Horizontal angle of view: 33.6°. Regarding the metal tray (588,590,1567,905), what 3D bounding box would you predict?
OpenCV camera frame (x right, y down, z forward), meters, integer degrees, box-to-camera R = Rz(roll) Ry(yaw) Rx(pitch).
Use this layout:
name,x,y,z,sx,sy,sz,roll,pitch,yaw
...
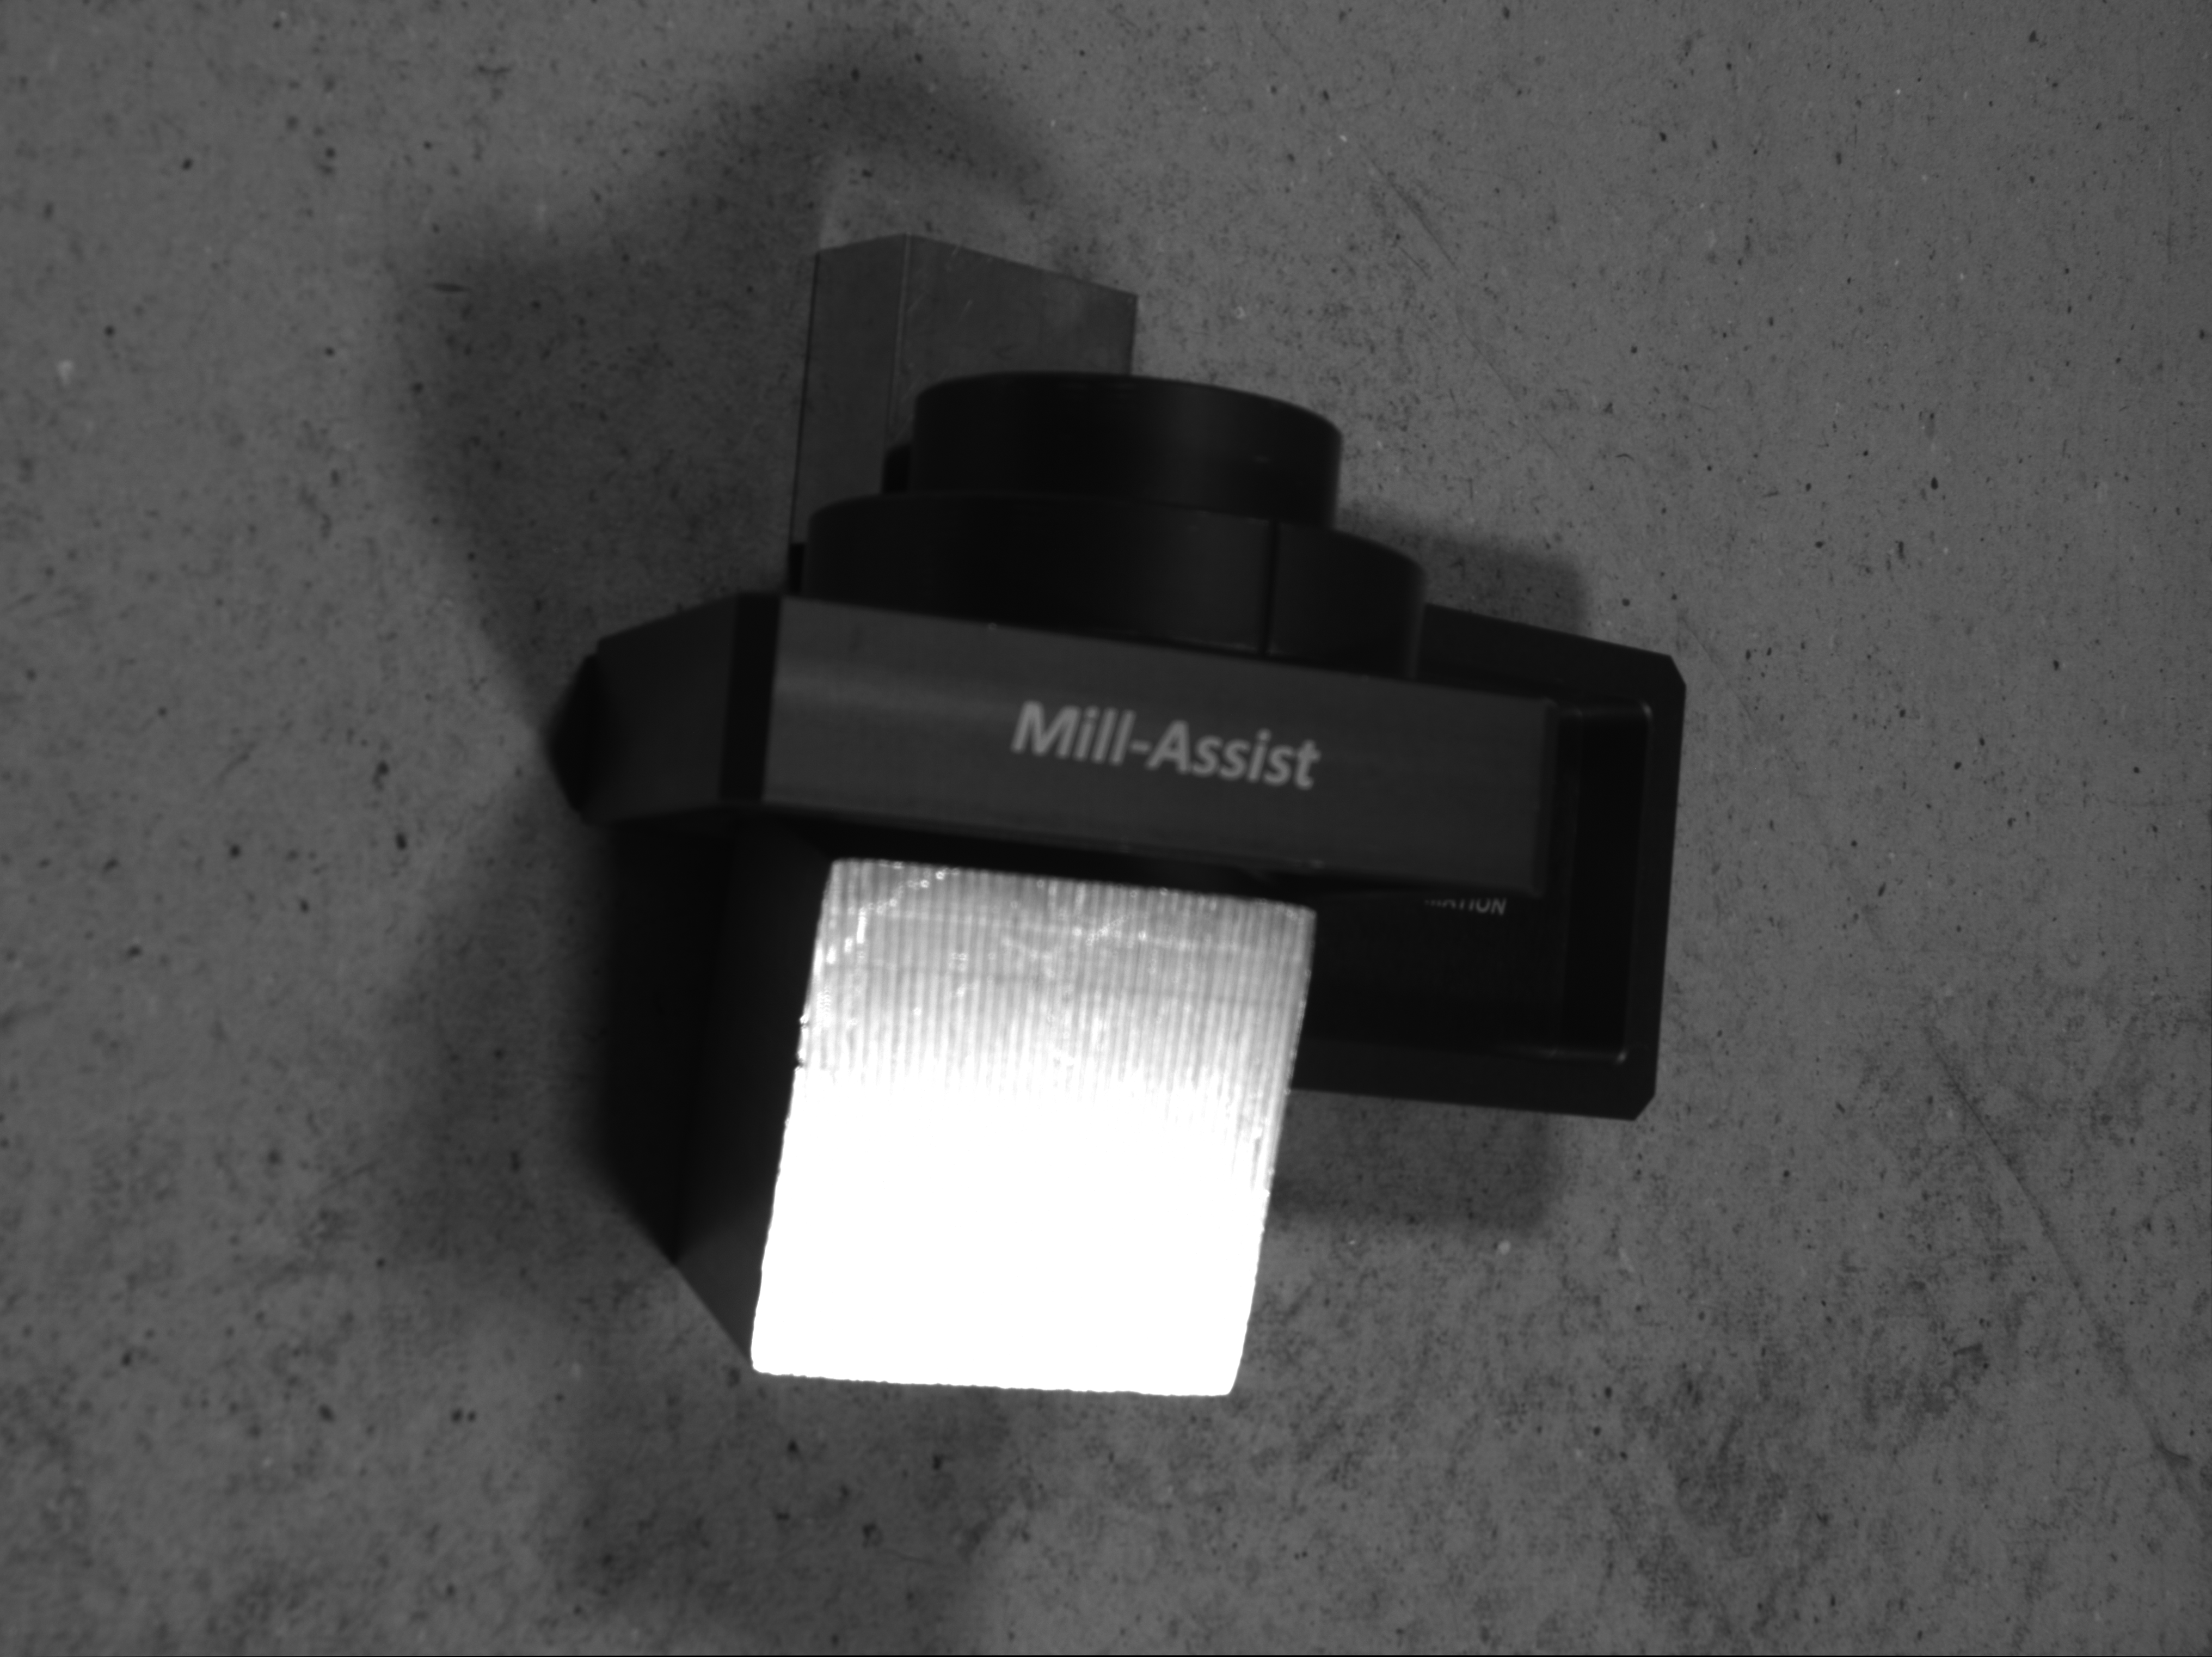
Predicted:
name,x,y,z,sx,sy,sz,roll,pitch,yaw
metal tray,-0.006,-0.010,0.568,0.130,0.090,0.030,7,86,-21

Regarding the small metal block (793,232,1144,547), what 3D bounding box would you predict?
name,x,y,z,sx,sy,sz,roll,pitch,yaw
small metal block,-0.023,-0.069,0.619,0.050,0.025,0.050,9,84,-39

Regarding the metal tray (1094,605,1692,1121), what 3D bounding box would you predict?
name,x,y,z,sx,sy,sz,roll,pitch,yaw
metal tray,0.051,0.005,0.677,0.130,0.030,0.090,9,85,-39

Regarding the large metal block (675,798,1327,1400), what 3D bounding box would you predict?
name,x,y,z,sx,sy,sz,roll,pitch,yaw
large metal block,-0.018,0.042,0.582,0.080,0.050,0.080,6,99,-22

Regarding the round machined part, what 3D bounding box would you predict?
name,x,y,z,sx,sy,sz,roll,pitch,yaw
round machined part,0.003,-0.044,0.579,0.098,0.098,0.042,8,85,-39
